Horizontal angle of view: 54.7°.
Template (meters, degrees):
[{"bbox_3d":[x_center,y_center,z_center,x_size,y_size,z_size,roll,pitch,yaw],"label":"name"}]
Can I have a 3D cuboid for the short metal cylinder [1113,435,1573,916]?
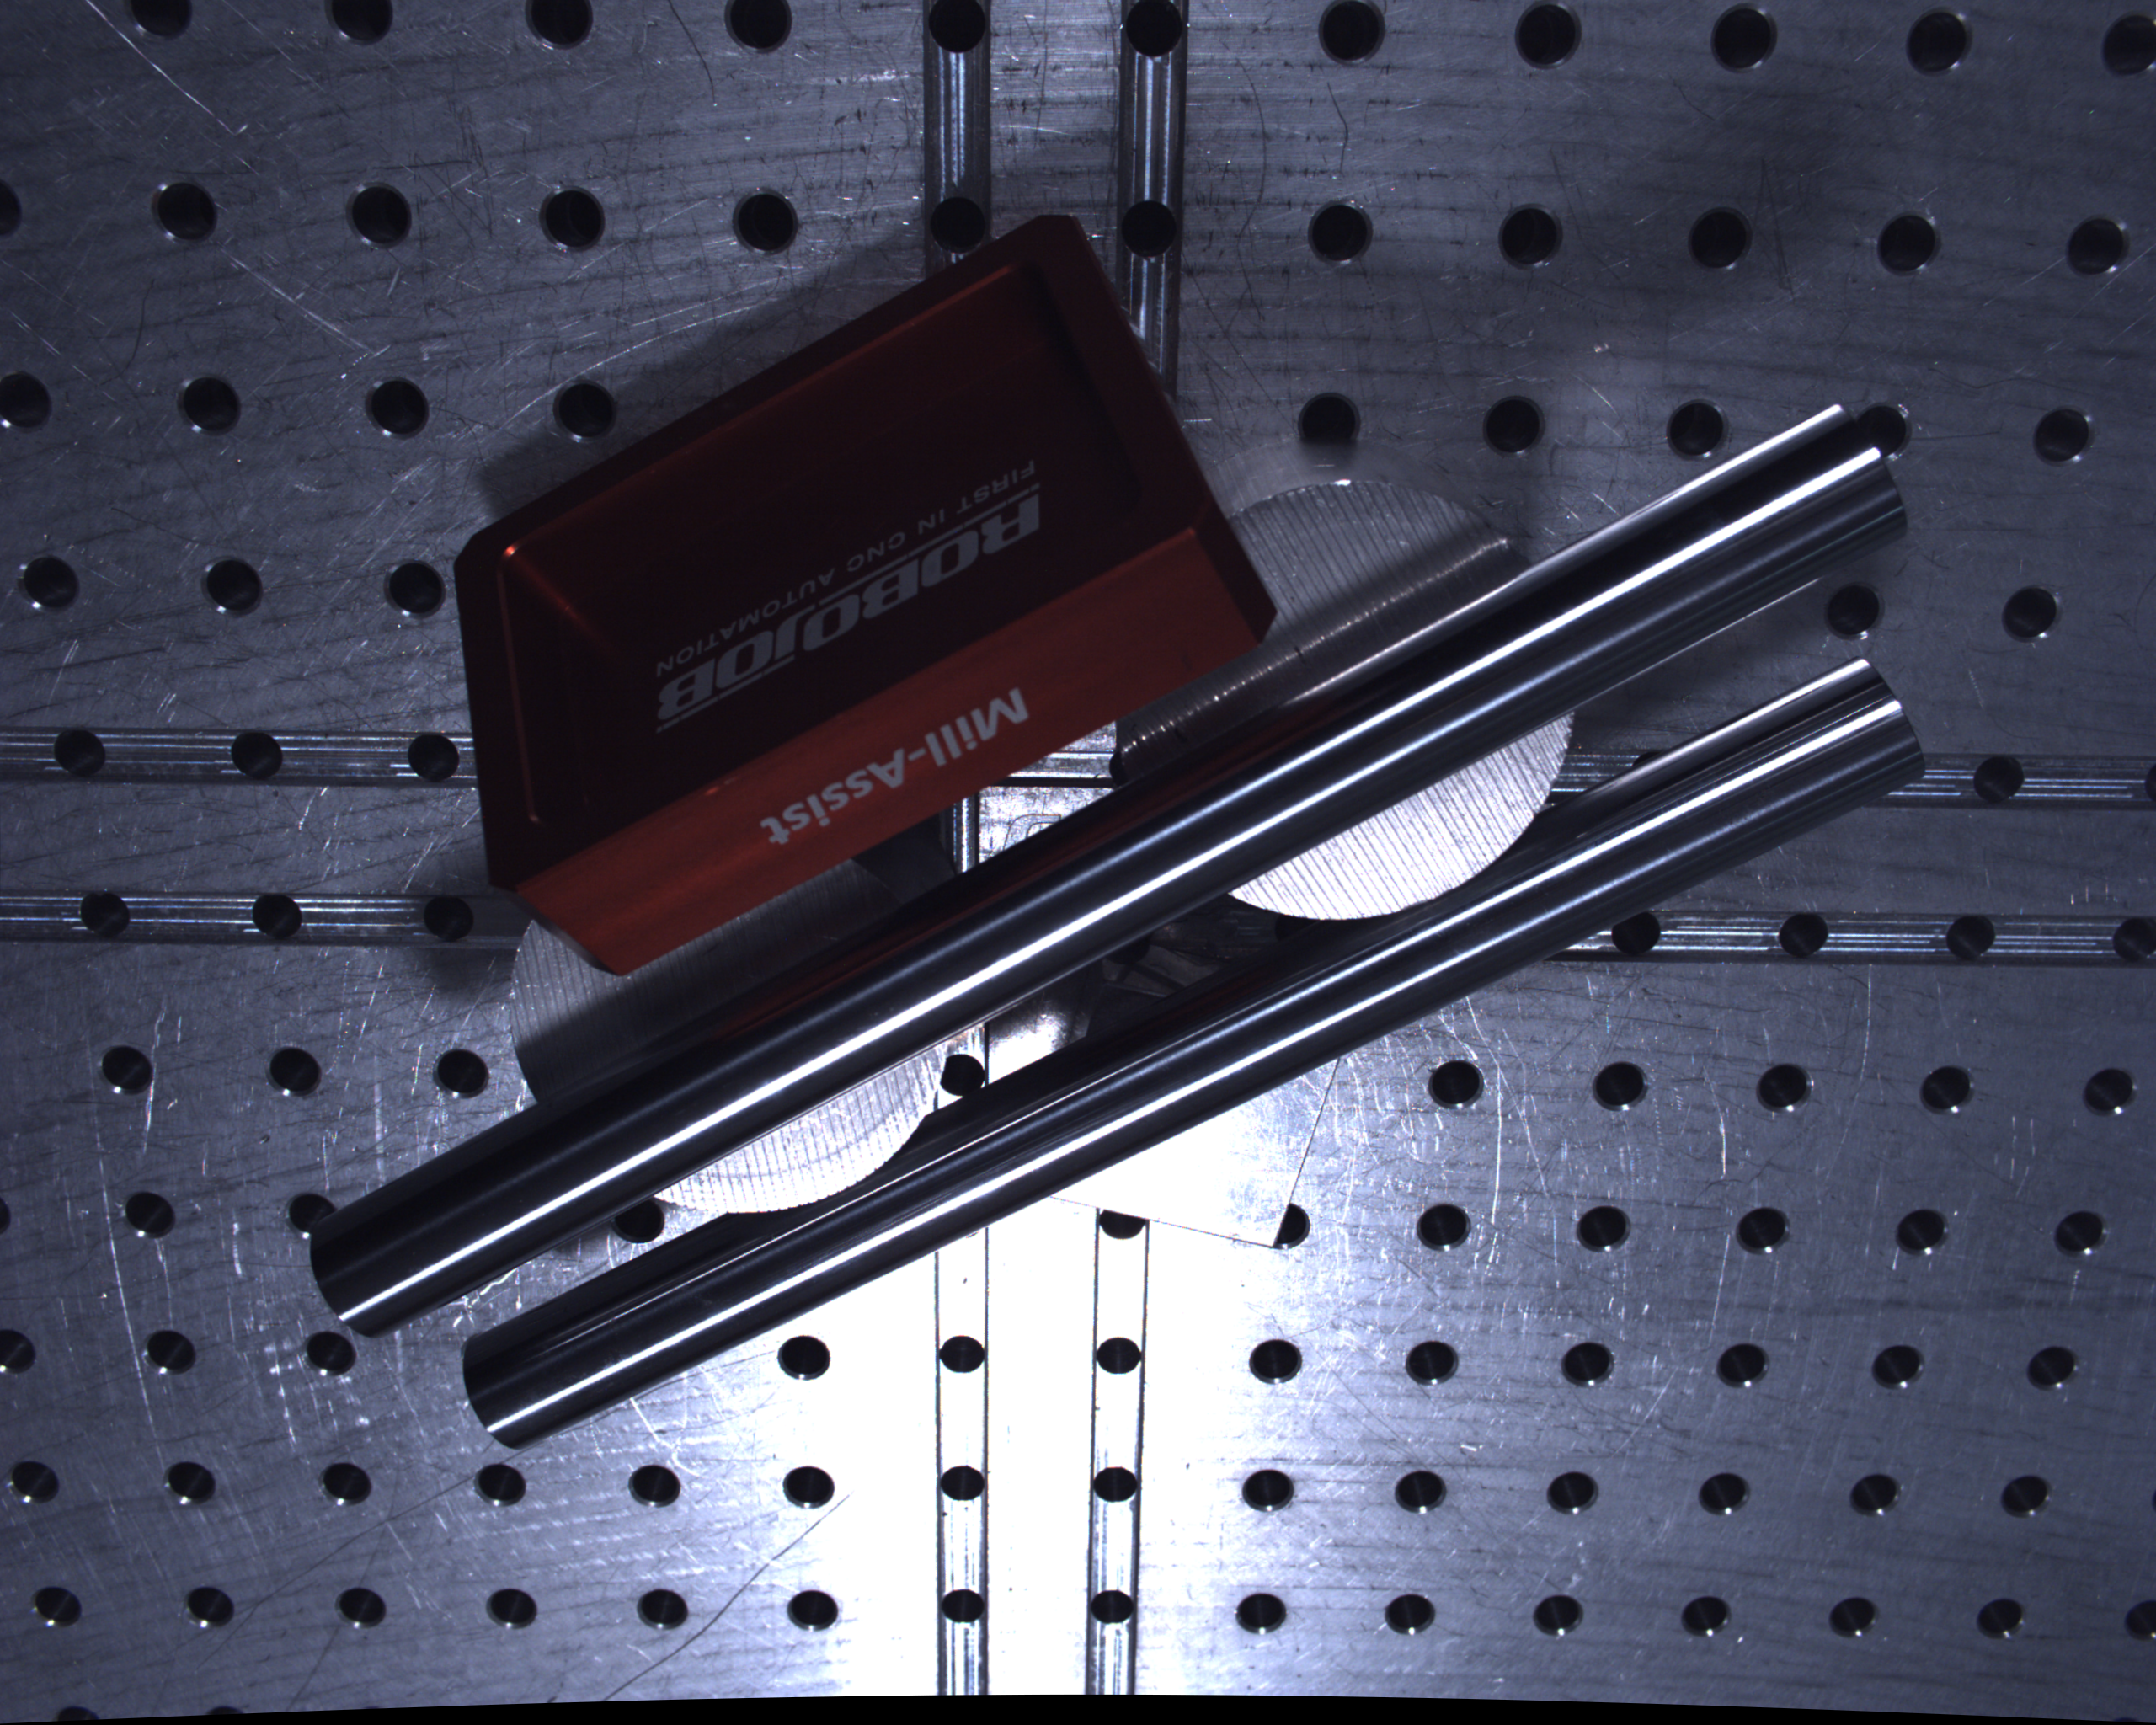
[{"bbox_3d":[0.047,-0.036,0.388,0.081,0.050,0.079,0,110,-1],"label":"short metal cylinder"}]

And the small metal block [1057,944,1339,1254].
[{"bbox_3d":[0.022,0.048,0.430,0.050,0.025,0.050,14,109,-6],"label":"small metal block"}]

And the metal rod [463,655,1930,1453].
[{"bbox_3d":[0.015,0.041,0.401,0.301,0.025,0.025,-27,108,9],"label":"metal rod"}]

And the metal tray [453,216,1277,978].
[{"bbox_3d":[-0.042,-0.047,0.359,0.130,0.090,0.030,-27,140,9],"label":"metal tray"}]

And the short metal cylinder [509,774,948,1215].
[{"bbox_3d":[-0.064,0.021,0.407,0.081,0.050,0.079,0,110,-1],"label":"short metal cylinder"}]

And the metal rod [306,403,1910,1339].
[{"bbox_3d":[-0.003,0.007,0.361,0.301,0.025,0.025,-28,108,9],"label":"metal rod"}]
